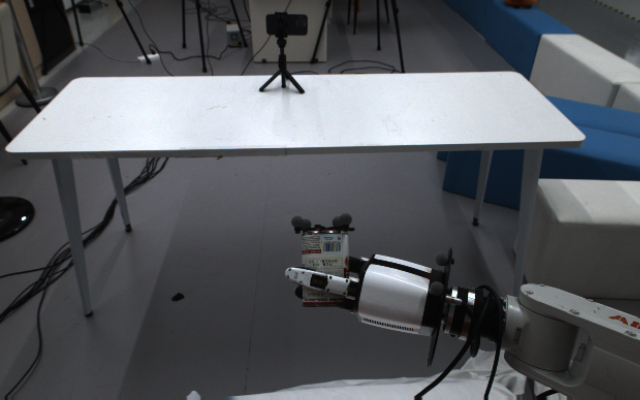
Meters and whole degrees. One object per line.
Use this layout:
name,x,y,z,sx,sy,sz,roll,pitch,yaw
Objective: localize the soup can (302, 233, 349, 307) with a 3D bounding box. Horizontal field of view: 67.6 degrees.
soup can,0.009,0.096,0.673,0.067,0.101,0.067,-1,-9,0
